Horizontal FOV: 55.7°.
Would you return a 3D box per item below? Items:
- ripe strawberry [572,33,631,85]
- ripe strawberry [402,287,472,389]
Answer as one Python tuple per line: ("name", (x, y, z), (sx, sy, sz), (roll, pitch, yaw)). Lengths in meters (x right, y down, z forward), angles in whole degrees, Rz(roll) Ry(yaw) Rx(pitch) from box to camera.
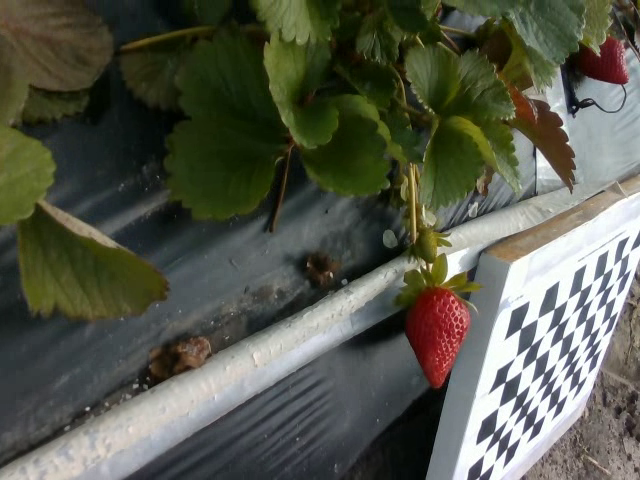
("ripe strawberry", (0.204, -0.126, 0.428), (0.037, 0.048, 0.030), (-1, -31, -48))
("ripe strawberry", (0.056, 0.046, 0.289), (0.030, 0.053, 0.047), (-1, -22, 30))
